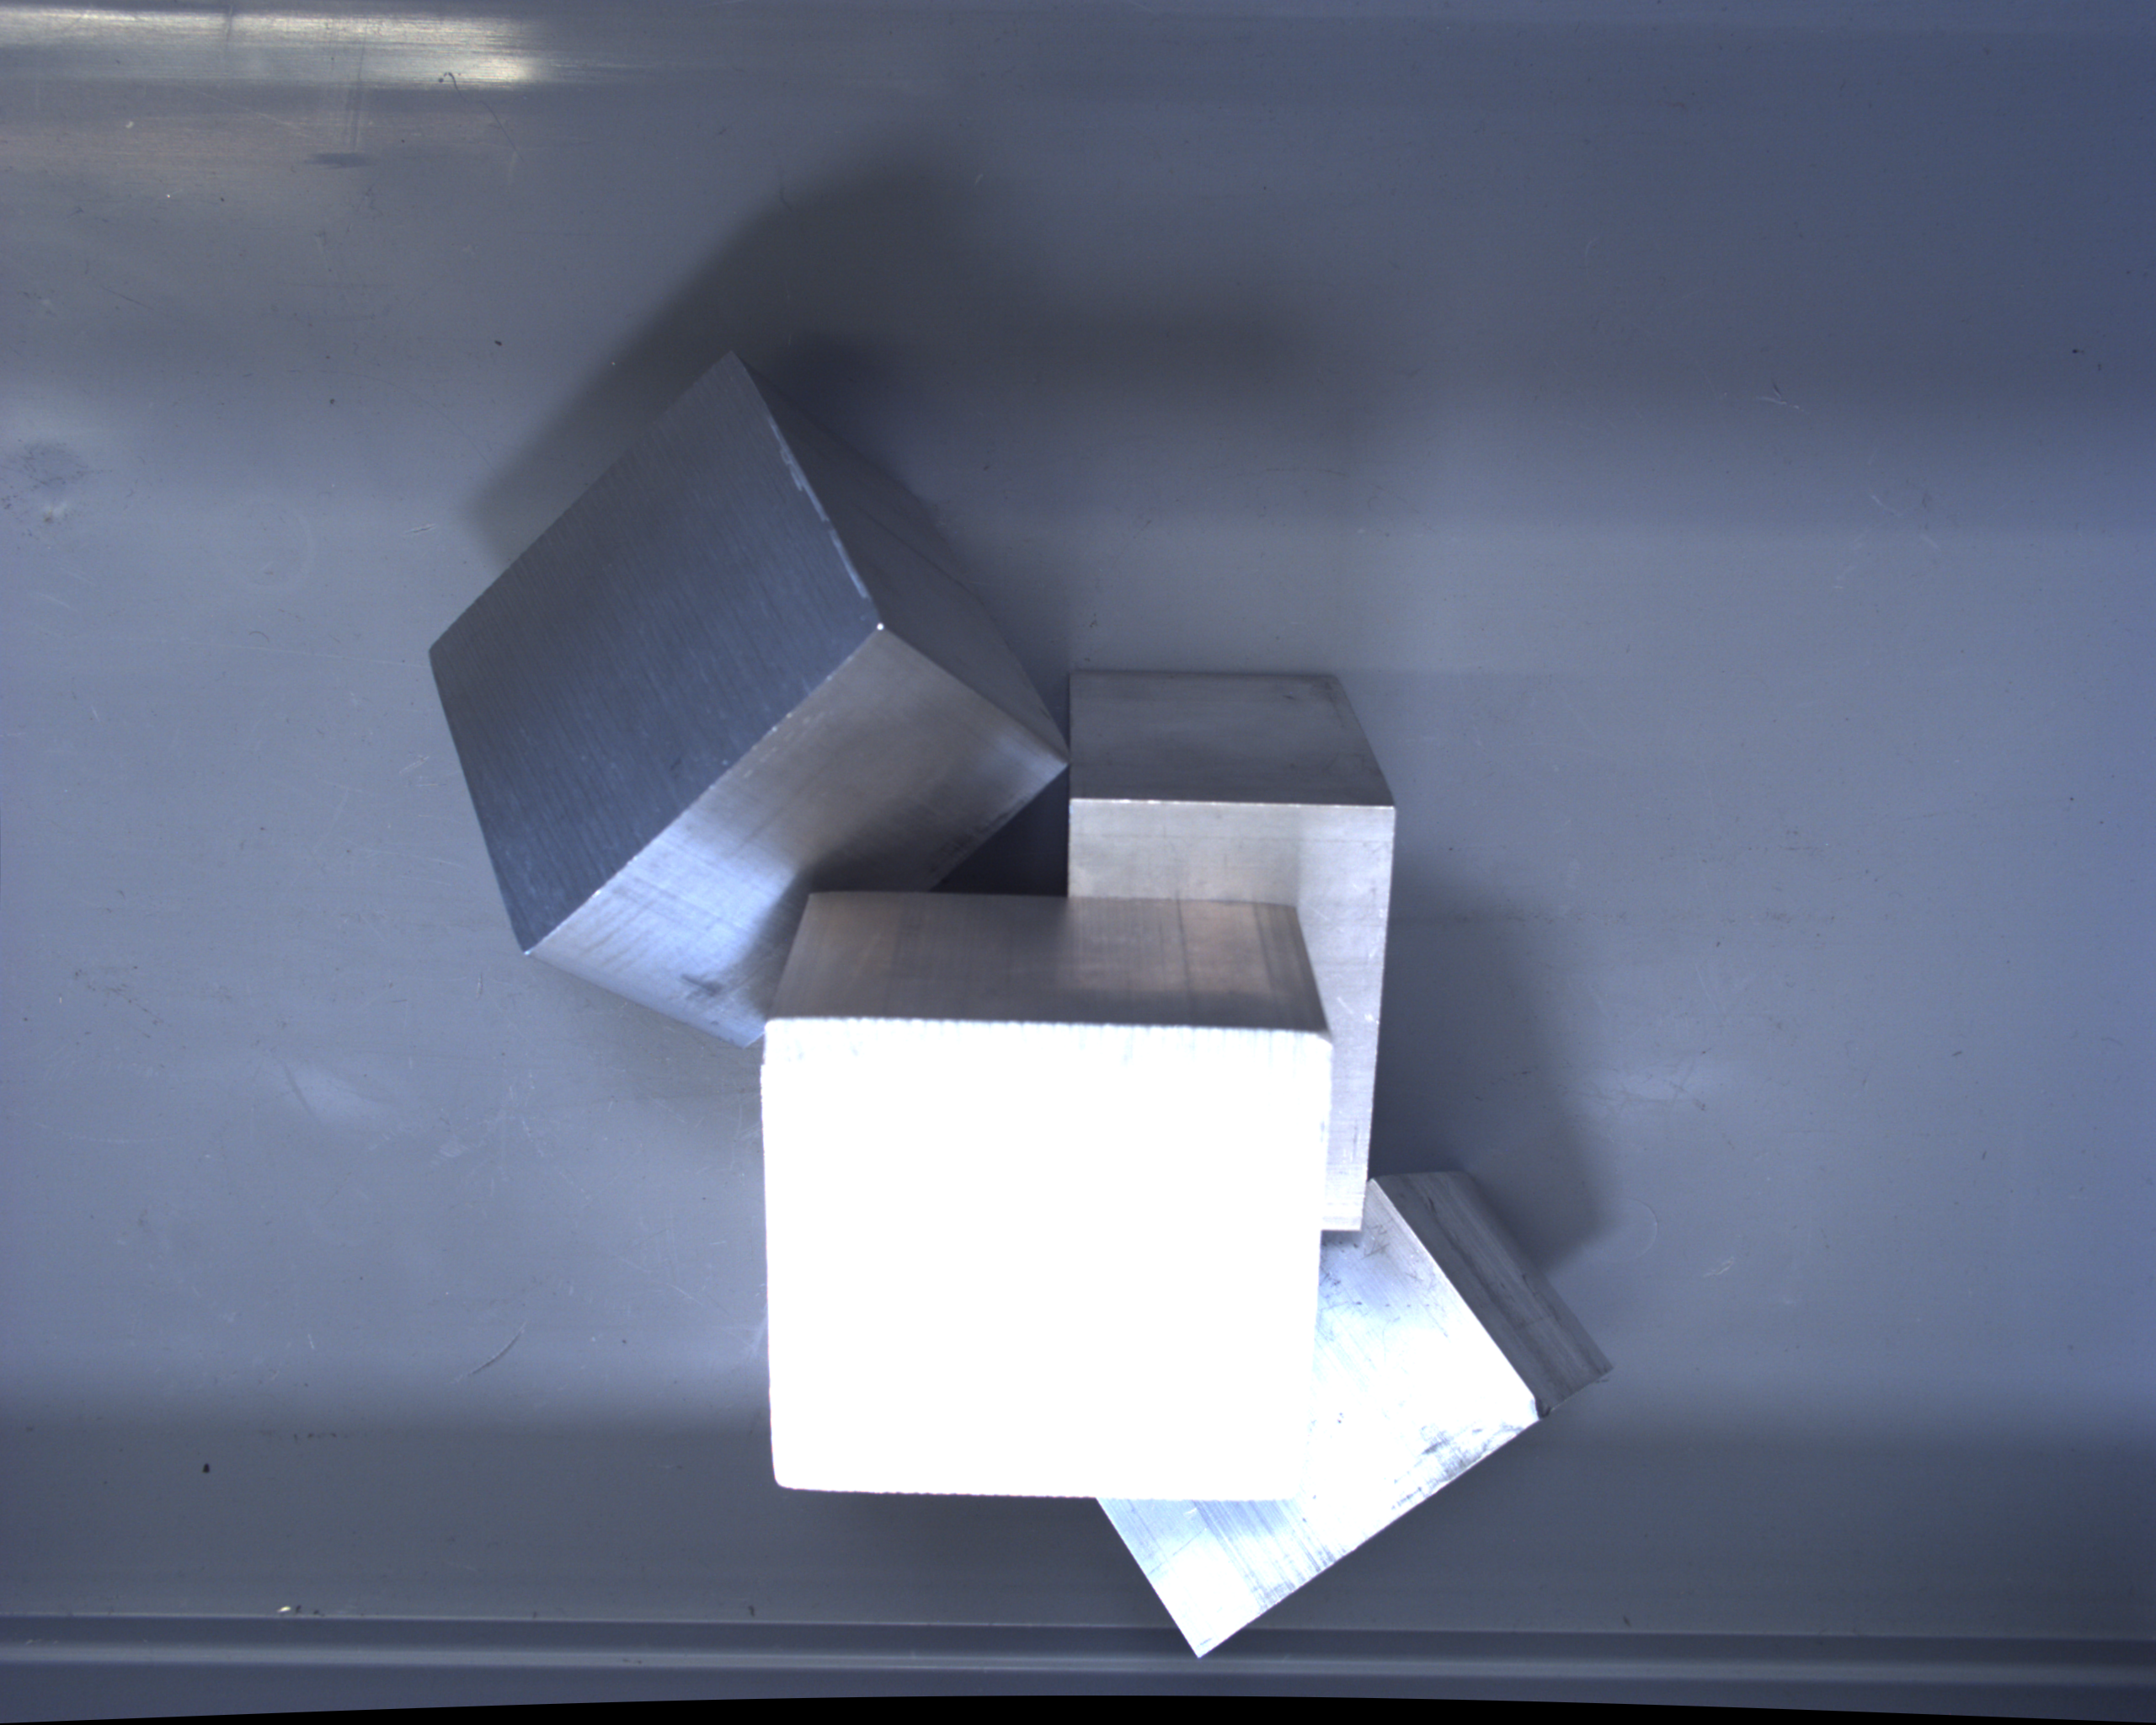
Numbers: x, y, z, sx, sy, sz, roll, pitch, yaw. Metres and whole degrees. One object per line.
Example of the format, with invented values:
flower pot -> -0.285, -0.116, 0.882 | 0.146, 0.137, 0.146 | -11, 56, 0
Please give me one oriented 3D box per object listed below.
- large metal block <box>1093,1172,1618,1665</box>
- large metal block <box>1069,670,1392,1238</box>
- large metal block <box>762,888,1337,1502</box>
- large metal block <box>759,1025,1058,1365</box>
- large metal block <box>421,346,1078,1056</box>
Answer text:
large metal block -> 0.053, 0.105, 0.412 | 0.080, 0.080, 0.050 | -39, 71, 13
large metal block -> 0.024, 0.014, 0.384 | 0.050, 0.080, 0.079 | 1, 110, -1
large metal block -> -0.005, 0.051, 0.329 | 0.081, 0.050, 0.079 | 2, 110, -1
large metal block -> -0.029, 0.059, 0.402 | 0.050, 0.080, 0.079 | 1, 110, -1
large metal block -> -0.059, -0.028, 0.362 | 0.080, 0.080, 0.050 | -41, 140, 13
